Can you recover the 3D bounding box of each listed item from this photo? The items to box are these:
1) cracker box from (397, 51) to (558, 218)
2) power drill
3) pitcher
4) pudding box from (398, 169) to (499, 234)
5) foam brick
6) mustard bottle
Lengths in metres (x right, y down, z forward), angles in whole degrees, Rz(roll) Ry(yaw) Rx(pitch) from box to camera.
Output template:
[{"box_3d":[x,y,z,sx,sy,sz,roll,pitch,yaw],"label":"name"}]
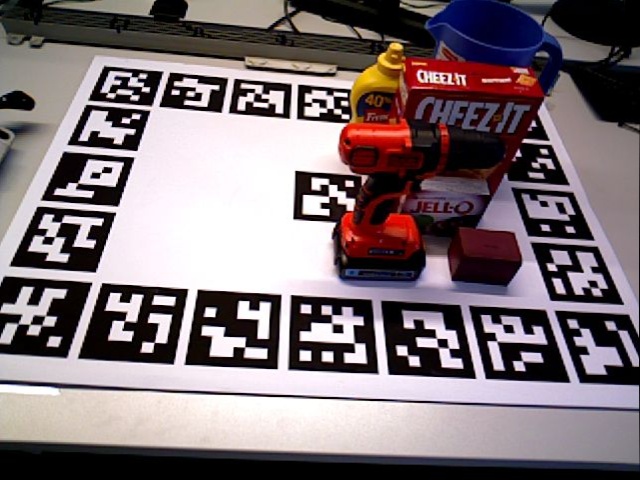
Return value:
[{"box_3d":[0.179,-0.124,0.699,0.163,0.218,0.071,2,49,-4],"label":"cracker box"},{"box_3d":[0.111,-0.055,0.614,0.183,0.191,0.056,4,47,-5],"label":"power drill"},{"box_3d":[0.226,-0.202,0.761,0.188,0.248,0.131,8,50,1],"label":"pitcher"},{"box_3d":[0.165,-0.052,0.711,0.113,0.092,0.038,4,49,-1],"label":"pudding box"},{"box_3d":[0.217,0.023,0.700,0.077,0.052,0.052,6,52,-3],"label":"foam brick"},{"box_3d":[0.093,-0.205,0.761,0.096,0.196,0.057,15,51,4],"label":"mustard bottle"}]
